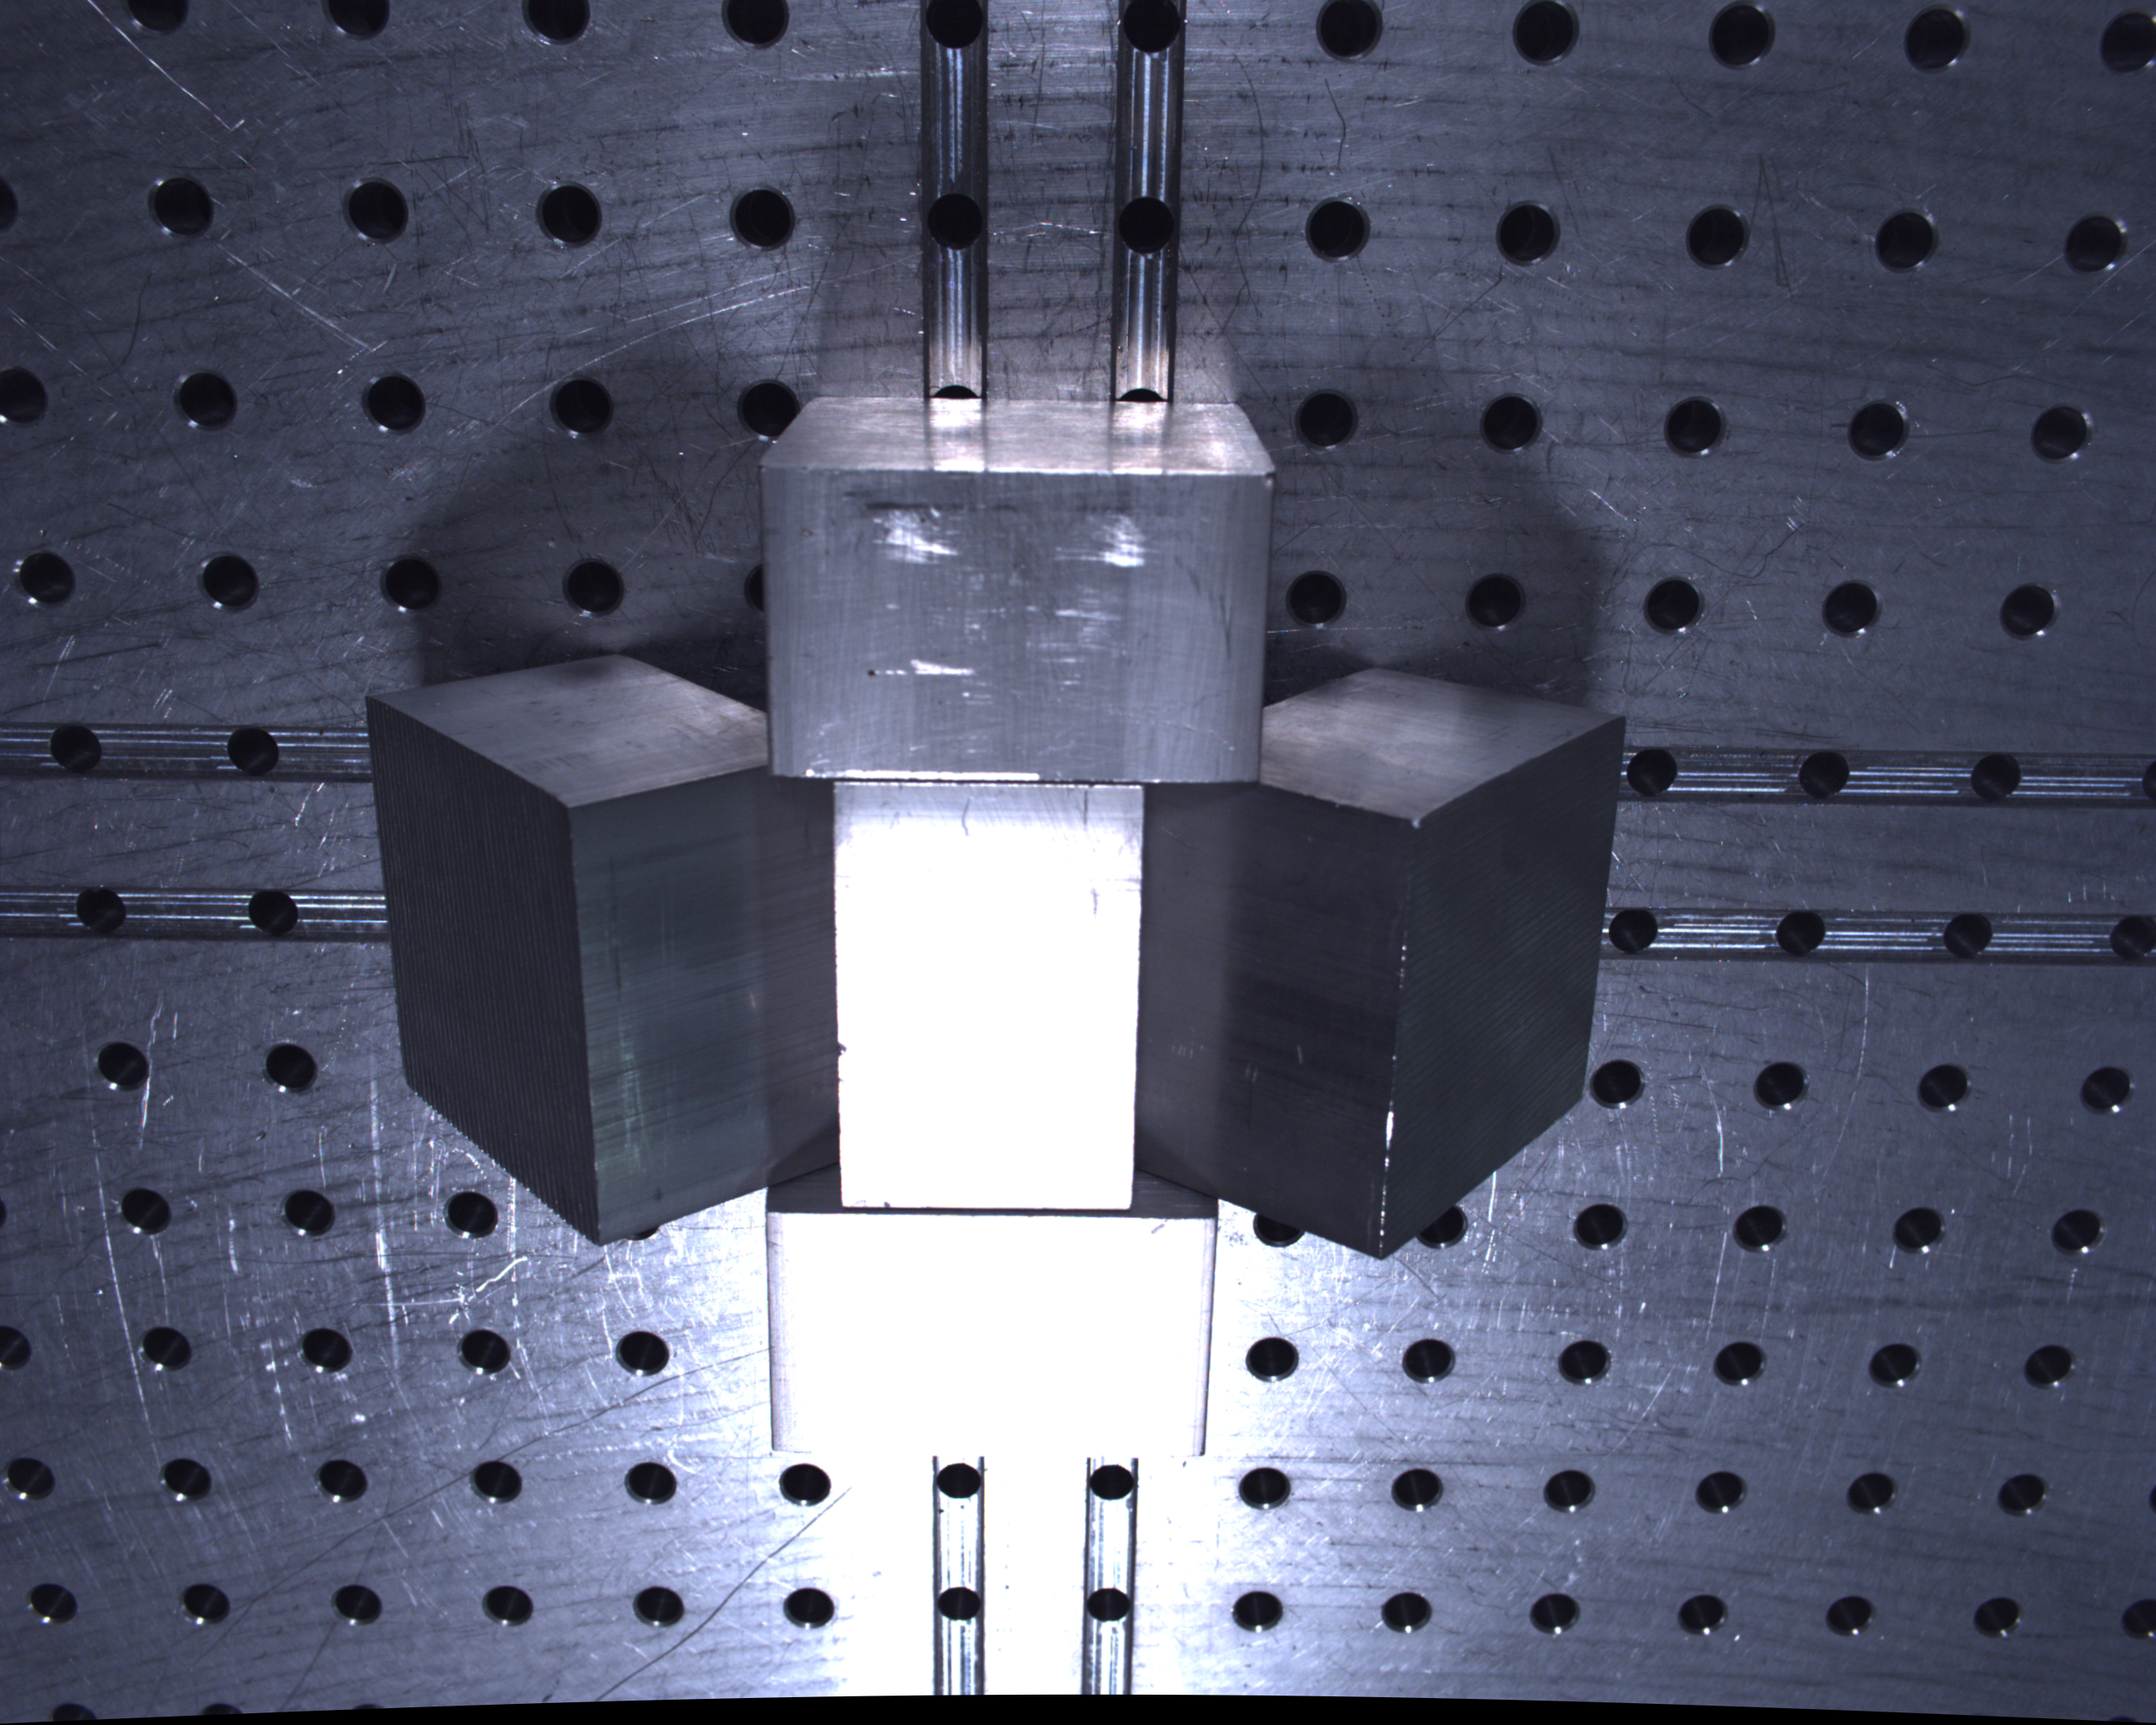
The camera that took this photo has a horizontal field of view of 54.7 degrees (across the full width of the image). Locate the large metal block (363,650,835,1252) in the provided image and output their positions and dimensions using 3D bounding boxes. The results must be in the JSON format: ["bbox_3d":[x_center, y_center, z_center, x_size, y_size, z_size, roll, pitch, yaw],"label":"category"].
[{"bbox_3d":[-0.086,0.012,0.380,0.050,0.080,0.079,-16,116,-37],"label":"large metal block"}]

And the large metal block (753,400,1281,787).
[{"bbox_3d":[-0.010,-0.050,0.364,0.081,0.080,0.050,1,110,-1],"label":"large metal block"}]

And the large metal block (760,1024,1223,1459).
[{"bbox_3d":[-0.016,0.071,0.409,0.081,0.080,0.050,1,110,-1],"label":"large metal block"}]

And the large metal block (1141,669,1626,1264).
[{"bbox_3d":[0.056,0.014,0.381,0.050,0.081,0.079,15,114,34],"label":"large metal block"}]

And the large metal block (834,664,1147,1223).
[{"bbox_3d":[-0.015,0.011,0.387,0.050,0.080,0.079,1,110,-1],"label":"large metal block"}]
